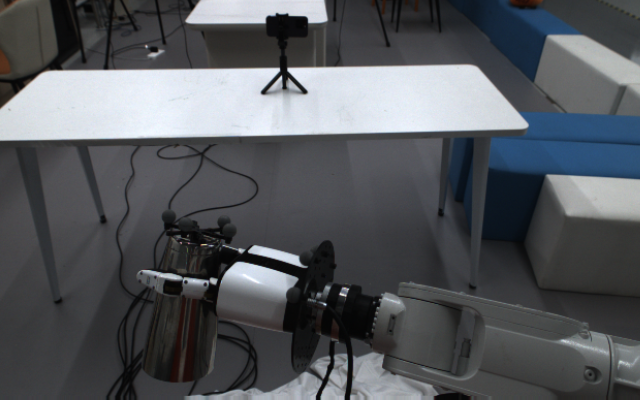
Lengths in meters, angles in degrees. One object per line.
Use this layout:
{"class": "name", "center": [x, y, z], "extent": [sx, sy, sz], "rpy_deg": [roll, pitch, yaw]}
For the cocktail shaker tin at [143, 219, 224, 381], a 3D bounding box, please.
{"class": "cocktail shaker tin", "center": [-0.166, 0.128, 0.616], "extent": [0.093, 0.170, 0.093], "rpy_deg": [10, 10, -2]}
